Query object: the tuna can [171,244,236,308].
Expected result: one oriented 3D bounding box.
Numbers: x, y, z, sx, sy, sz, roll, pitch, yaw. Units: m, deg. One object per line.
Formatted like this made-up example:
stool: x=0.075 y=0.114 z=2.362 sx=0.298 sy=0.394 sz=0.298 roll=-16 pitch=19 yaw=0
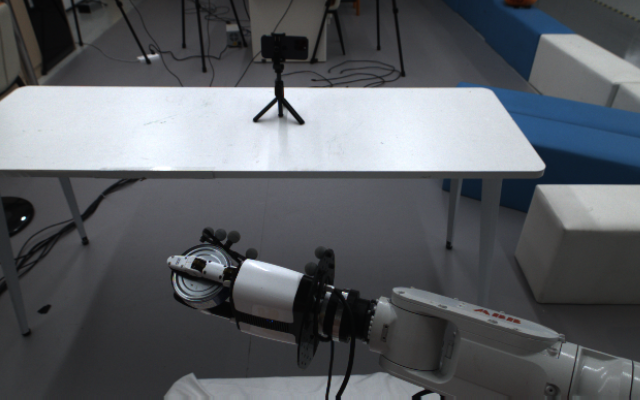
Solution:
tuna can: x=-0.158 y=0.105 z=0.670 sx=0.085 sy=0.034 sz=0.085 roll=-4 pitch=56 yaw=6
